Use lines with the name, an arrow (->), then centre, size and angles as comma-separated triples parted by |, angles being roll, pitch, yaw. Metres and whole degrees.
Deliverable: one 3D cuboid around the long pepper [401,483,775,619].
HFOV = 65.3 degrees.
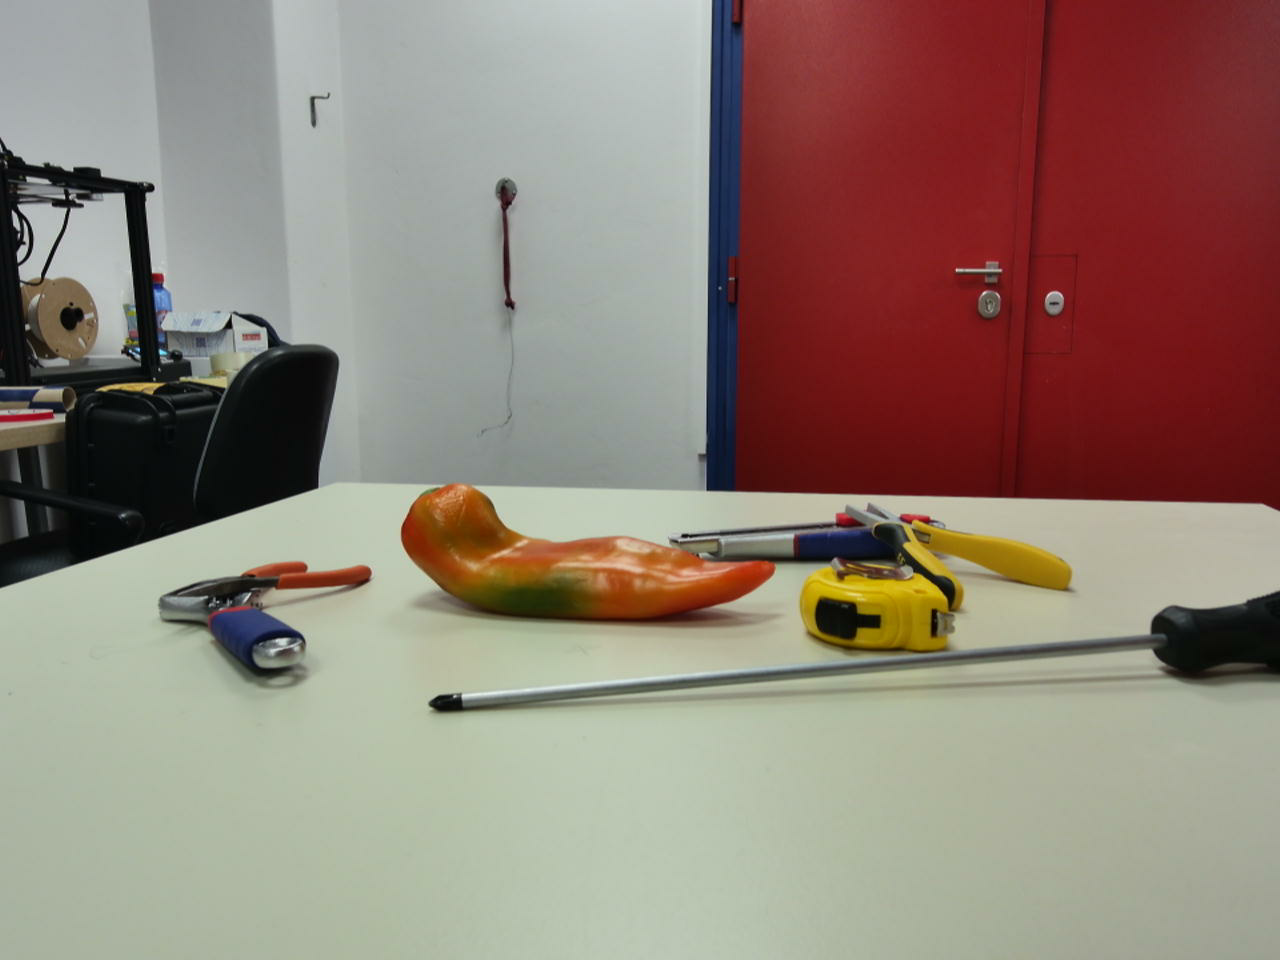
long pepper -> -0.031, 0.036, 0.518 | 0.199, 0.065, 0.066 | 2, 7, 17
